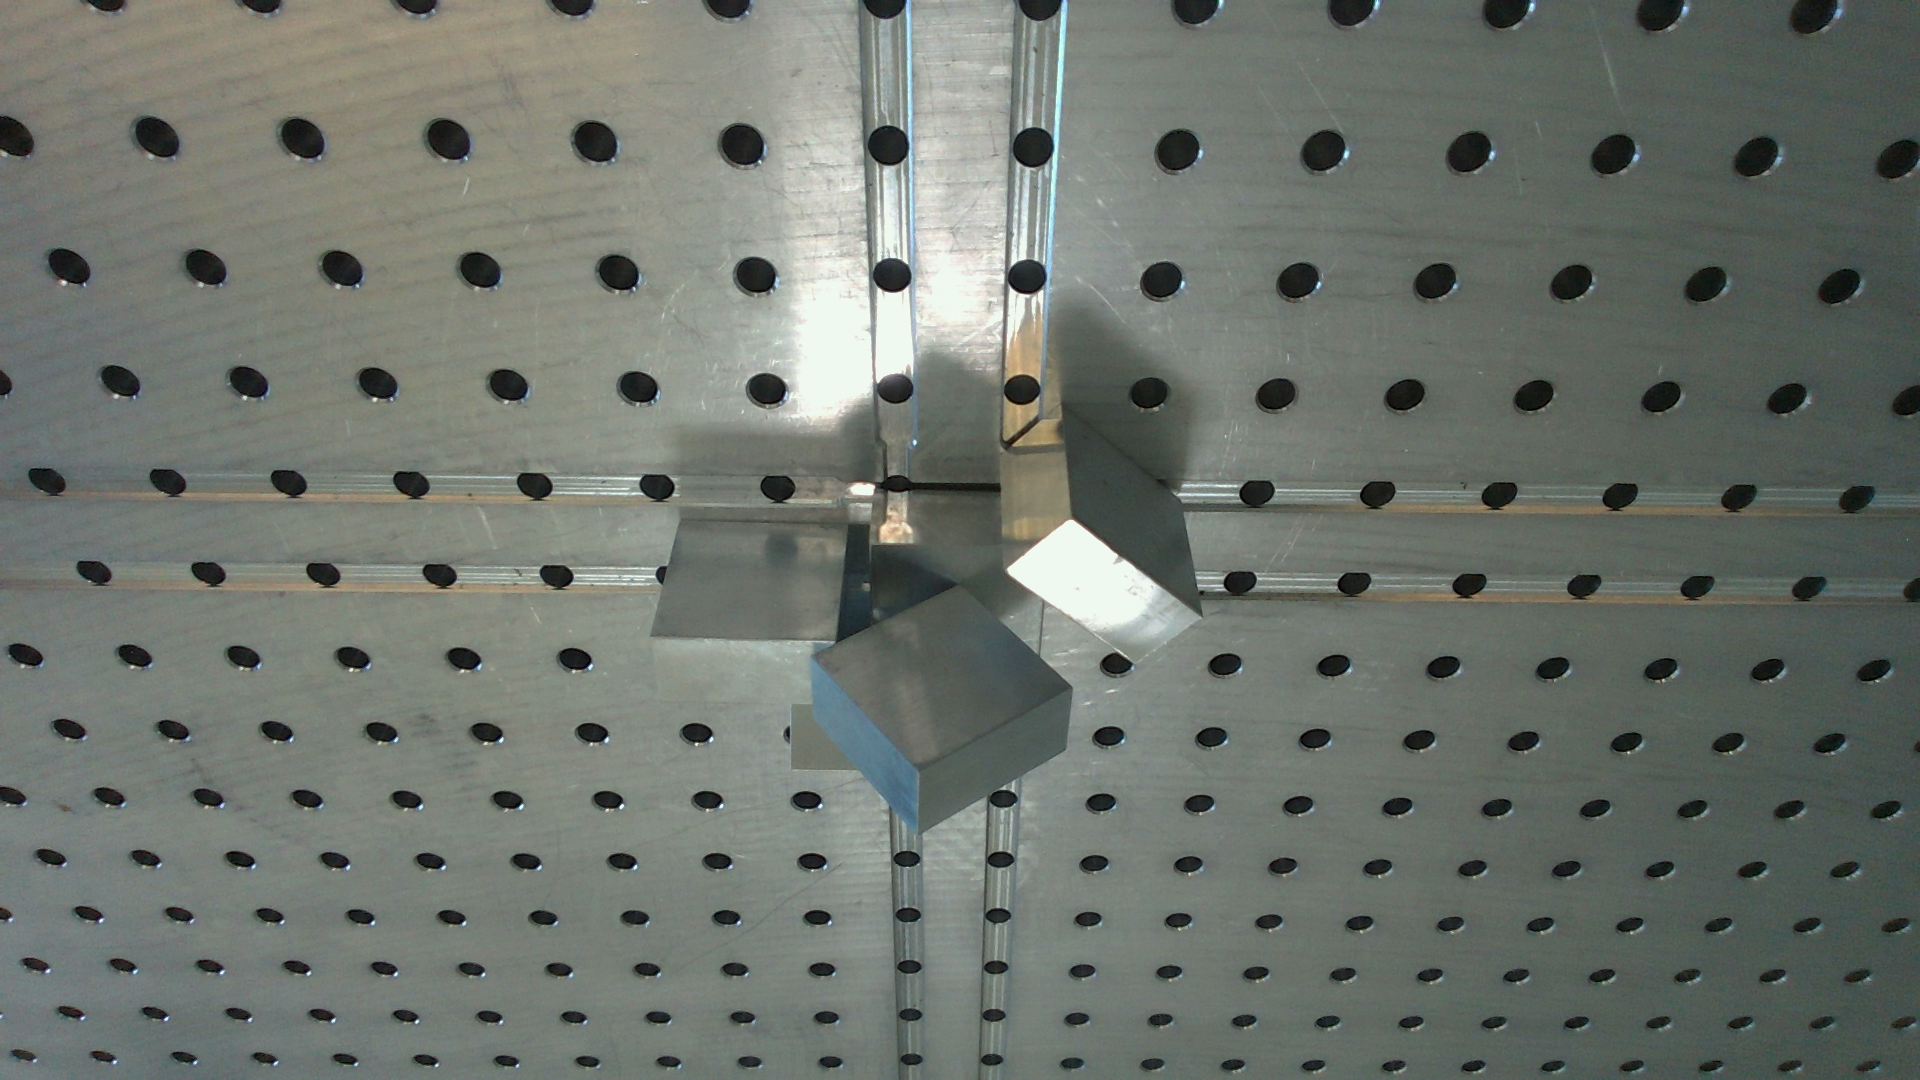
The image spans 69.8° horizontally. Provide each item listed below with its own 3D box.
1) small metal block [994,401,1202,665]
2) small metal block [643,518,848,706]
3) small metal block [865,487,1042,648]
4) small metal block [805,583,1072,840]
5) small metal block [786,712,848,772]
[{"bbox_3d":[0.037,-0.002,0.376,0.050,0.050,0.025,35,121,-26],"label":"small metal block"},{"bbox_3d":[-0.059,0.020,0.393,0.050,0.050,0.025,2,131,-1],"label":"small metal block"},{"bbox_3d":[-0.002,0.012,0.403,0.050,0.025,0.050,0,130,-2],"label":"small metal block"},{"bbox_3d":[-0.006,0.044,0.368,0.050,0.050,0.025,-25,138,-29],"label":"small metal block"},{"bbox_3d":[-0.025,0.051,0.417,0.050,0.050,0.025,1,98,-1],"label":"small metal block"}]
